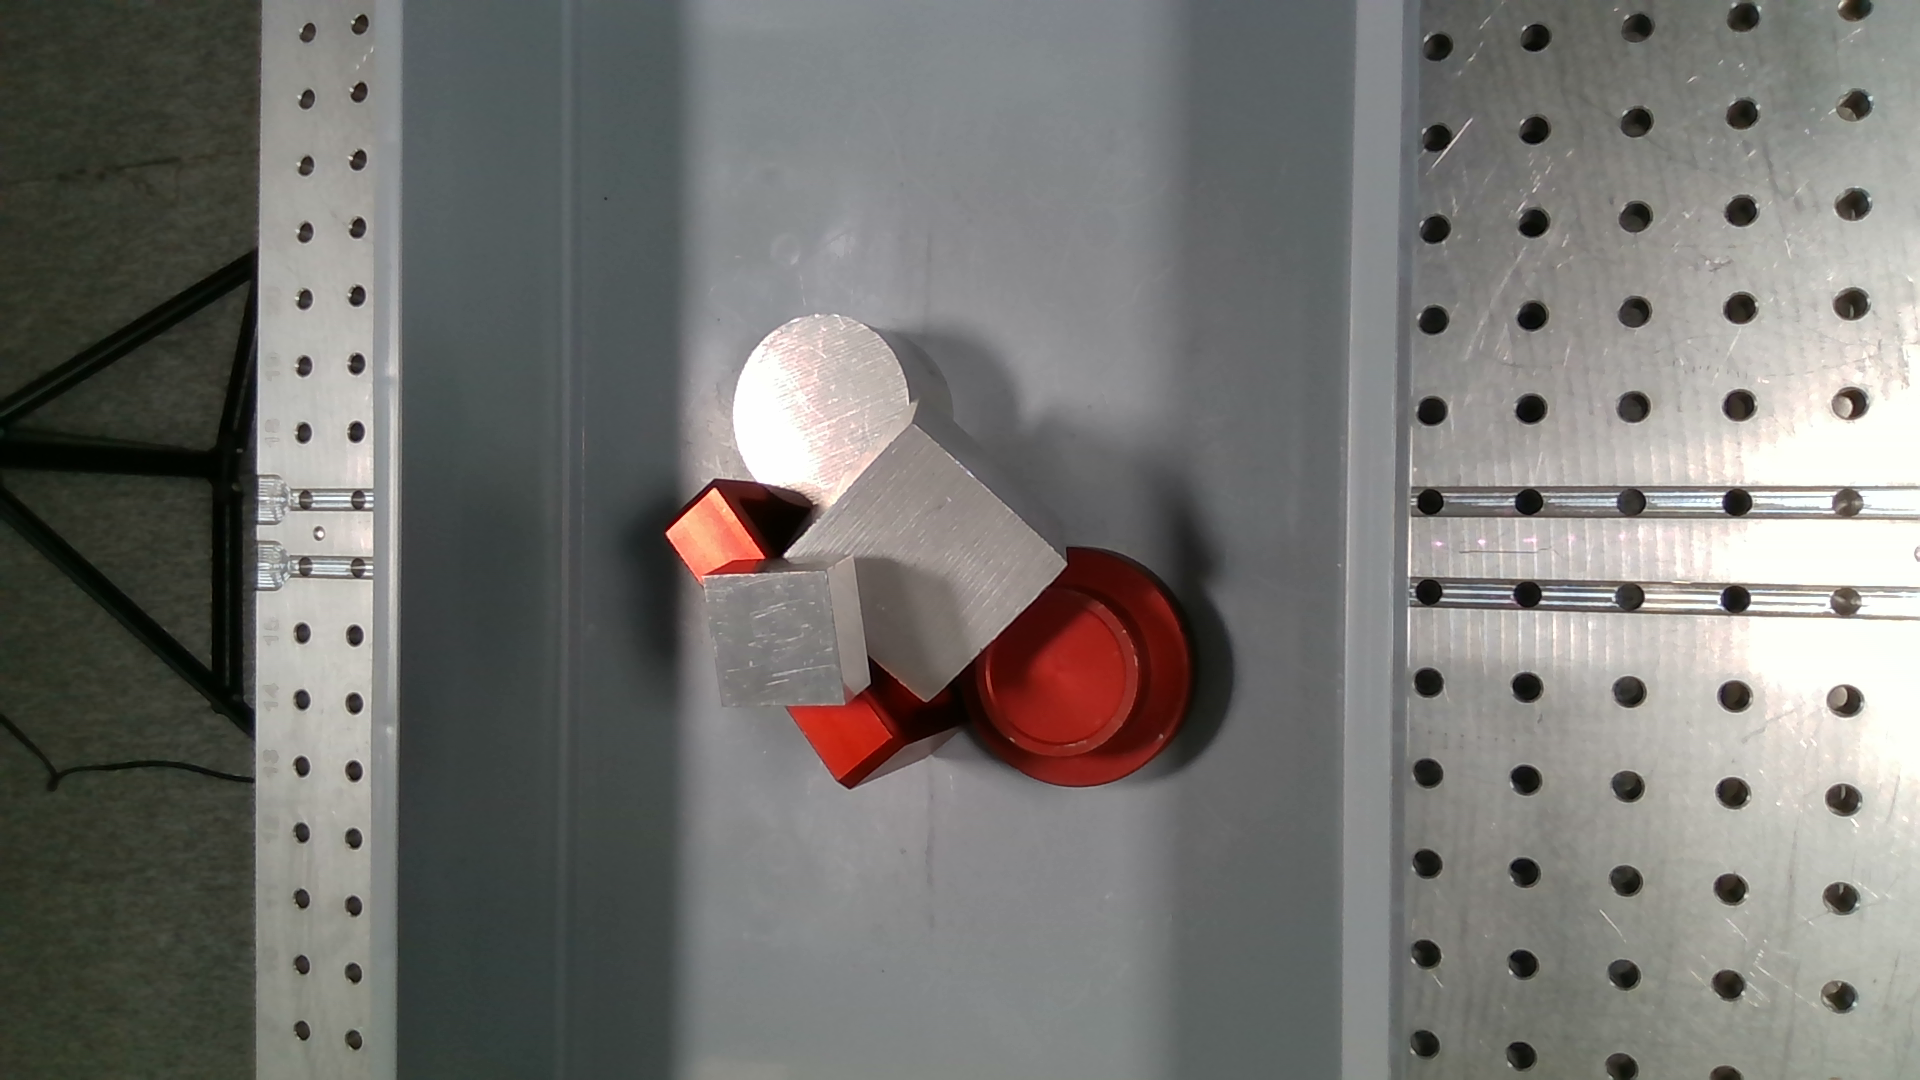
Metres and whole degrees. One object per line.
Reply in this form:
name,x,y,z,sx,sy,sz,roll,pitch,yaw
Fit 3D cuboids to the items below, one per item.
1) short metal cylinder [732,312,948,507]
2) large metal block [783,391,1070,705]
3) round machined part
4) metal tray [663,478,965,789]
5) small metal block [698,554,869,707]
short metal cylinder,-0.050,-0.054,0.589,0.080,0.050,0.080,0,90,20
large metal block,-0.014,0.002,0.538,0.080,0.050,0.080,42,105,-10
round machined part,0.044,0.051,0.559,0.098,0.042,0.098,0,91,20
metal tray,-0.057,0.035,0.570,0.030,0.090,0.130,-40,78,15
small metal block,-0.065,0.033,0.507,0.050,0.025,0.050,-3,103,20
